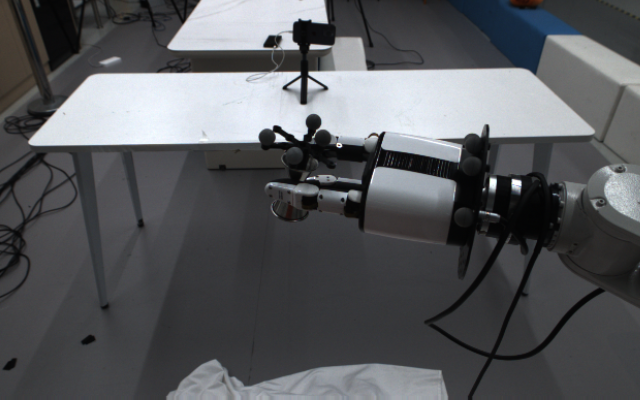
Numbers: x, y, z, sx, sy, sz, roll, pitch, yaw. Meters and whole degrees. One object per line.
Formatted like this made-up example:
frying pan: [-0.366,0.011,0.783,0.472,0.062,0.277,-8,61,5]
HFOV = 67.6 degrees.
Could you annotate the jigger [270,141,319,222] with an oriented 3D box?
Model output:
jigger: [-0.028,-0.015,0.536,0.043,0.071,0.043,10,35,-7]
